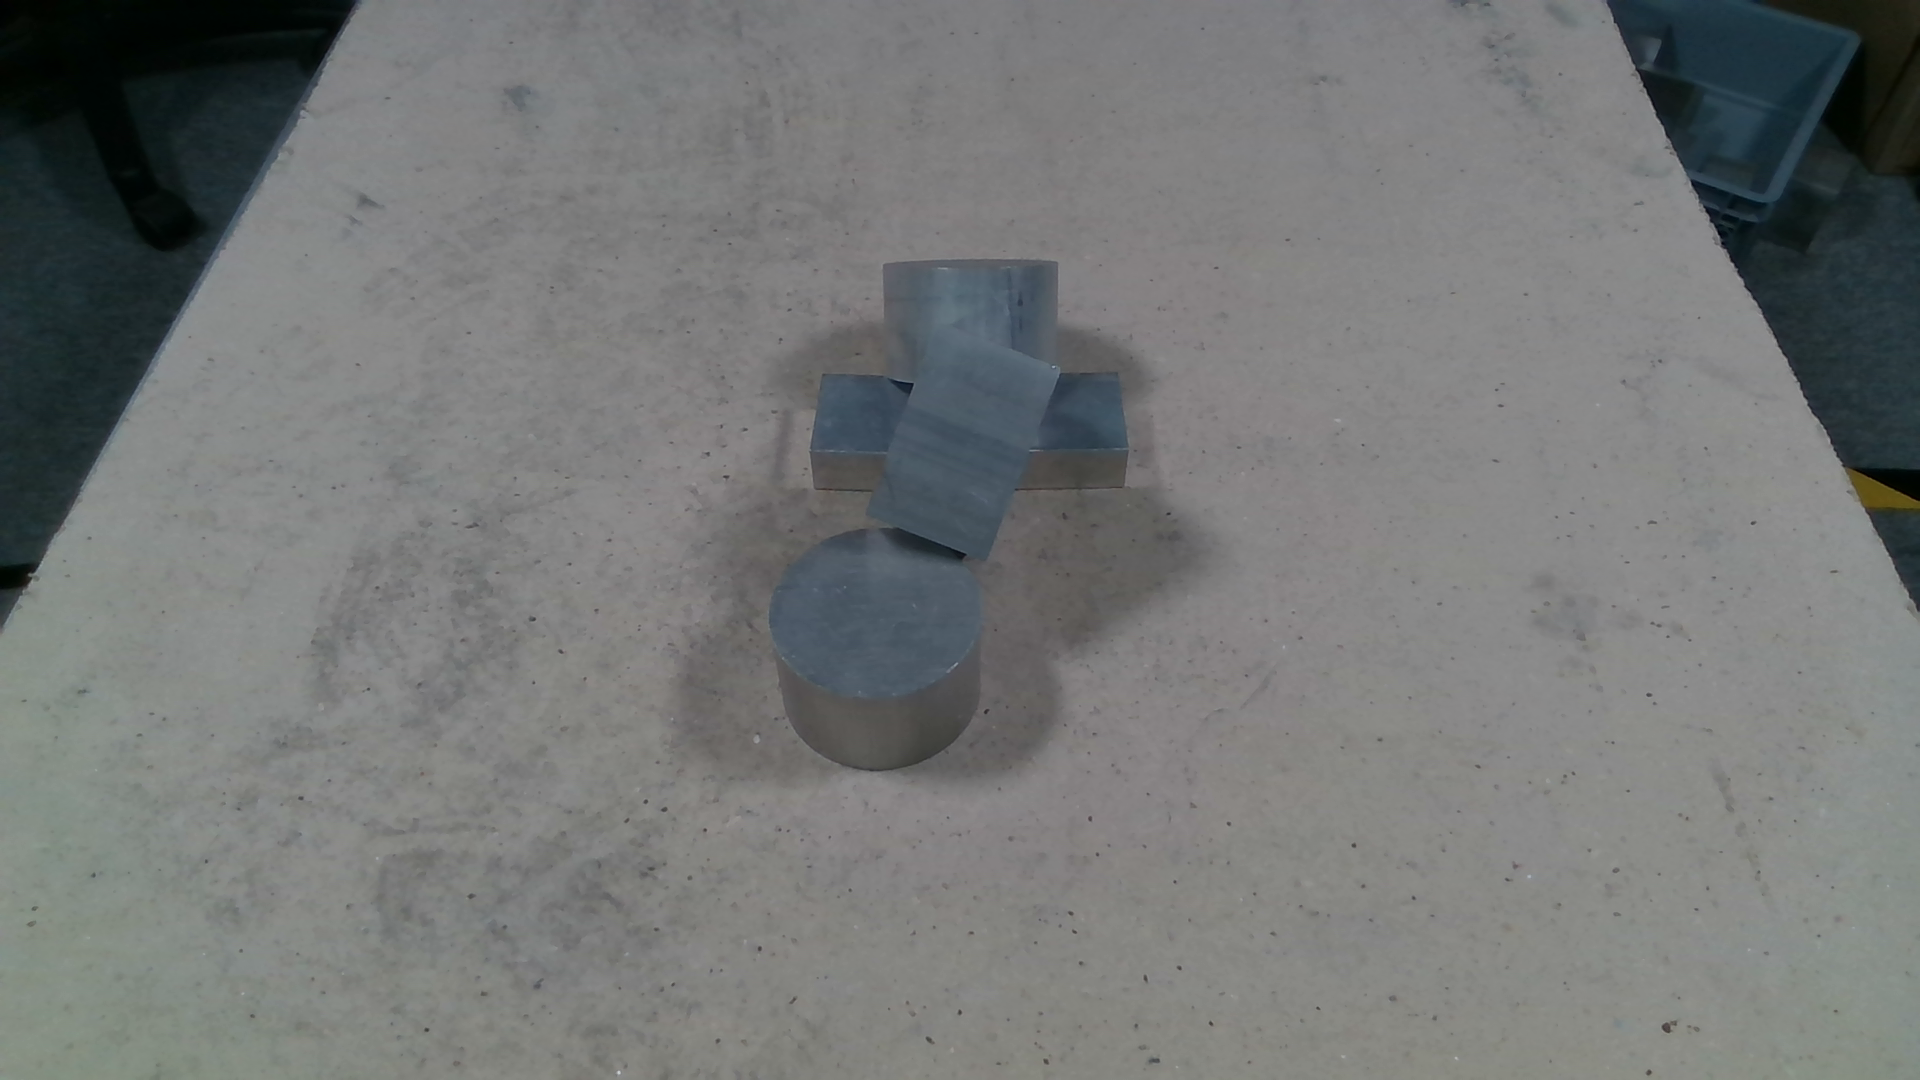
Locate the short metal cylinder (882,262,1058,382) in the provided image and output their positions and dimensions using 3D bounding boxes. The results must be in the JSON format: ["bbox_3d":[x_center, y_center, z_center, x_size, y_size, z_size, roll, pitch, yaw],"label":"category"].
[{"bbox_3d":[0.005,-0.102,0.633,0.080,0.050,0.080,-1,14,0],"label":"short metal cylinder"}]

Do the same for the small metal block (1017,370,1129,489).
[{"bbox_3d":[0.049,-0.051,0.629,0.050,0.025,0.050,-1,50,-1],"label":"small metal block"}]

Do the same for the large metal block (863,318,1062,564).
[{"bbox_3d":[0.000,-0.041,0.561,0.050,0.080,0.080,21,95,-4],"label":"large metal block"}]

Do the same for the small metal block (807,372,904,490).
[{"bbox_3d":[-0.041,-0.049,0.628,0.050,0.025,0.050,2,50,2],"label":"small metal block"}]

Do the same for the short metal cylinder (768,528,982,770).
[{"bbox_3d":[-0.032,0.042,0.536,0.080,0.050,0.080,0,50,0],"label":"short metal cylinder"}]
